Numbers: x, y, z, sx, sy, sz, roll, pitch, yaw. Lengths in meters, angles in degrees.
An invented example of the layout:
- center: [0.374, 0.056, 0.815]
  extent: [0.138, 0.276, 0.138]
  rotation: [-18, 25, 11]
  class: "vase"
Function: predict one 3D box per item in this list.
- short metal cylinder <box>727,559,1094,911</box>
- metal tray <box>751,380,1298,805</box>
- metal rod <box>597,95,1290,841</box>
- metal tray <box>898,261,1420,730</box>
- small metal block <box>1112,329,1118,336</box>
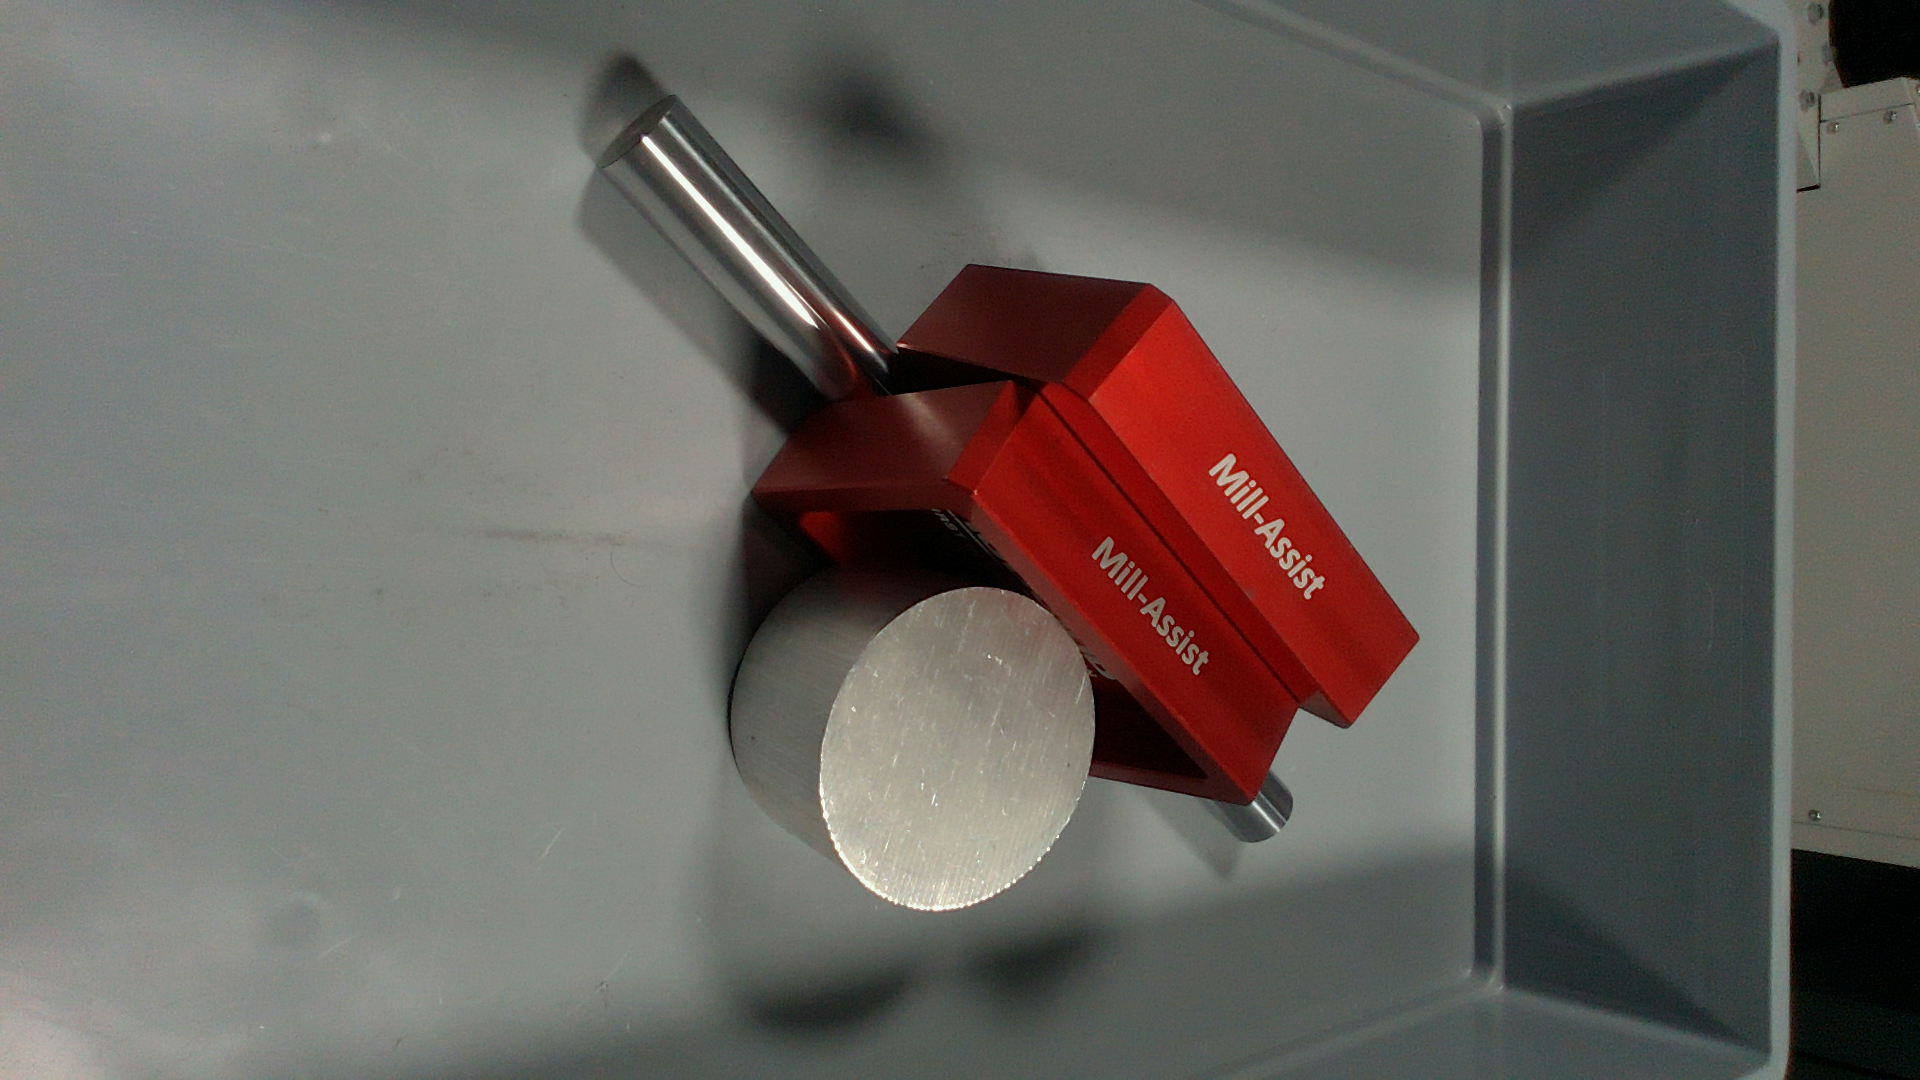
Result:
- center: [-0.012, 0.048, 0.354]
  extent: [0.080, 0.050, 0.080]
  rotation: [-6, 100, -34]
  class: "short metal cylinder"
- center: [0.017, 0.017, 0.360]
  extent: [0.130, 0.090, 0.030]
  rotation: [47, 62, -30]
  class: "metal tray"
- center: [0.013, -0.002, 0.400]
  extent: [0.301, 0.025, 0.025]
  rotation: [47, 62, -30]
  class: "metal rod"
- center: [0.051, -0.012, 0.355]
  extent: [0.030, 0.090, 0.130]
  rotation: [-49, 120, -9]
  class: "metal tray"
- center: [0.030, -0.038, 0.413]
  extent: [0.050, 0.025, 0.050]
  rotation: [48, 62, -29]
  class: "small metal block"
